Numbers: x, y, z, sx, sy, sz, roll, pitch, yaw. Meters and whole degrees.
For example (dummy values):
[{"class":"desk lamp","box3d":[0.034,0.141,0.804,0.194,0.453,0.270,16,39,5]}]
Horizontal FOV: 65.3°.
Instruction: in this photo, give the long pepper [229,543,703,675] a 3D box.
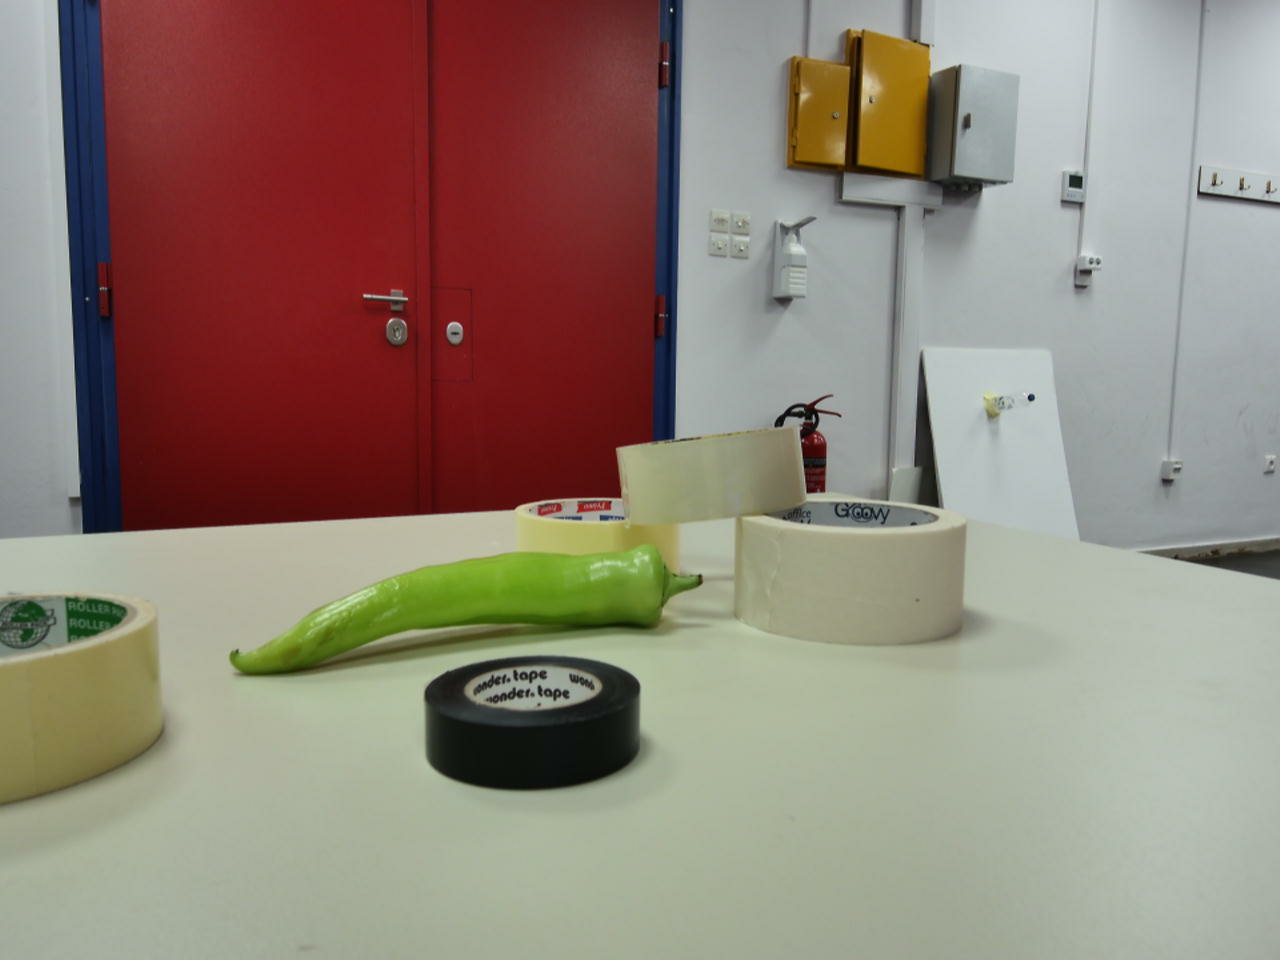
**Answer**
[{"class":"long pepper","box3d":[-0.068,0.050,0.421,0.197,0.038,0.047,-2,4,-24]}]
